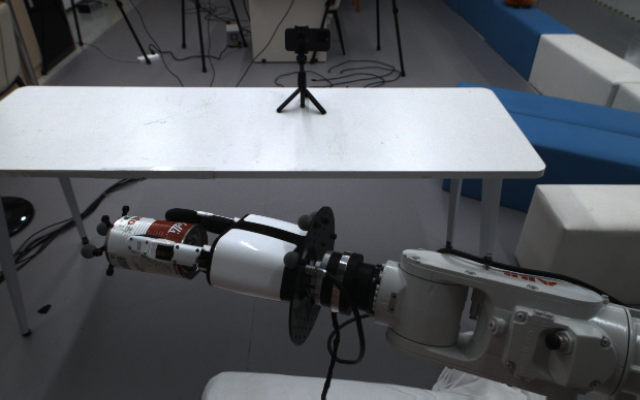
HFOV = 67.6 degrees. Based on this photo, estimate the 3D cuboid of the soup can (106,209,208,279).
[{"bbox_3d":[-0.197,0.058,0.593,0.101,0.067,0.067,6,35,12],"label":"soup can"}]
